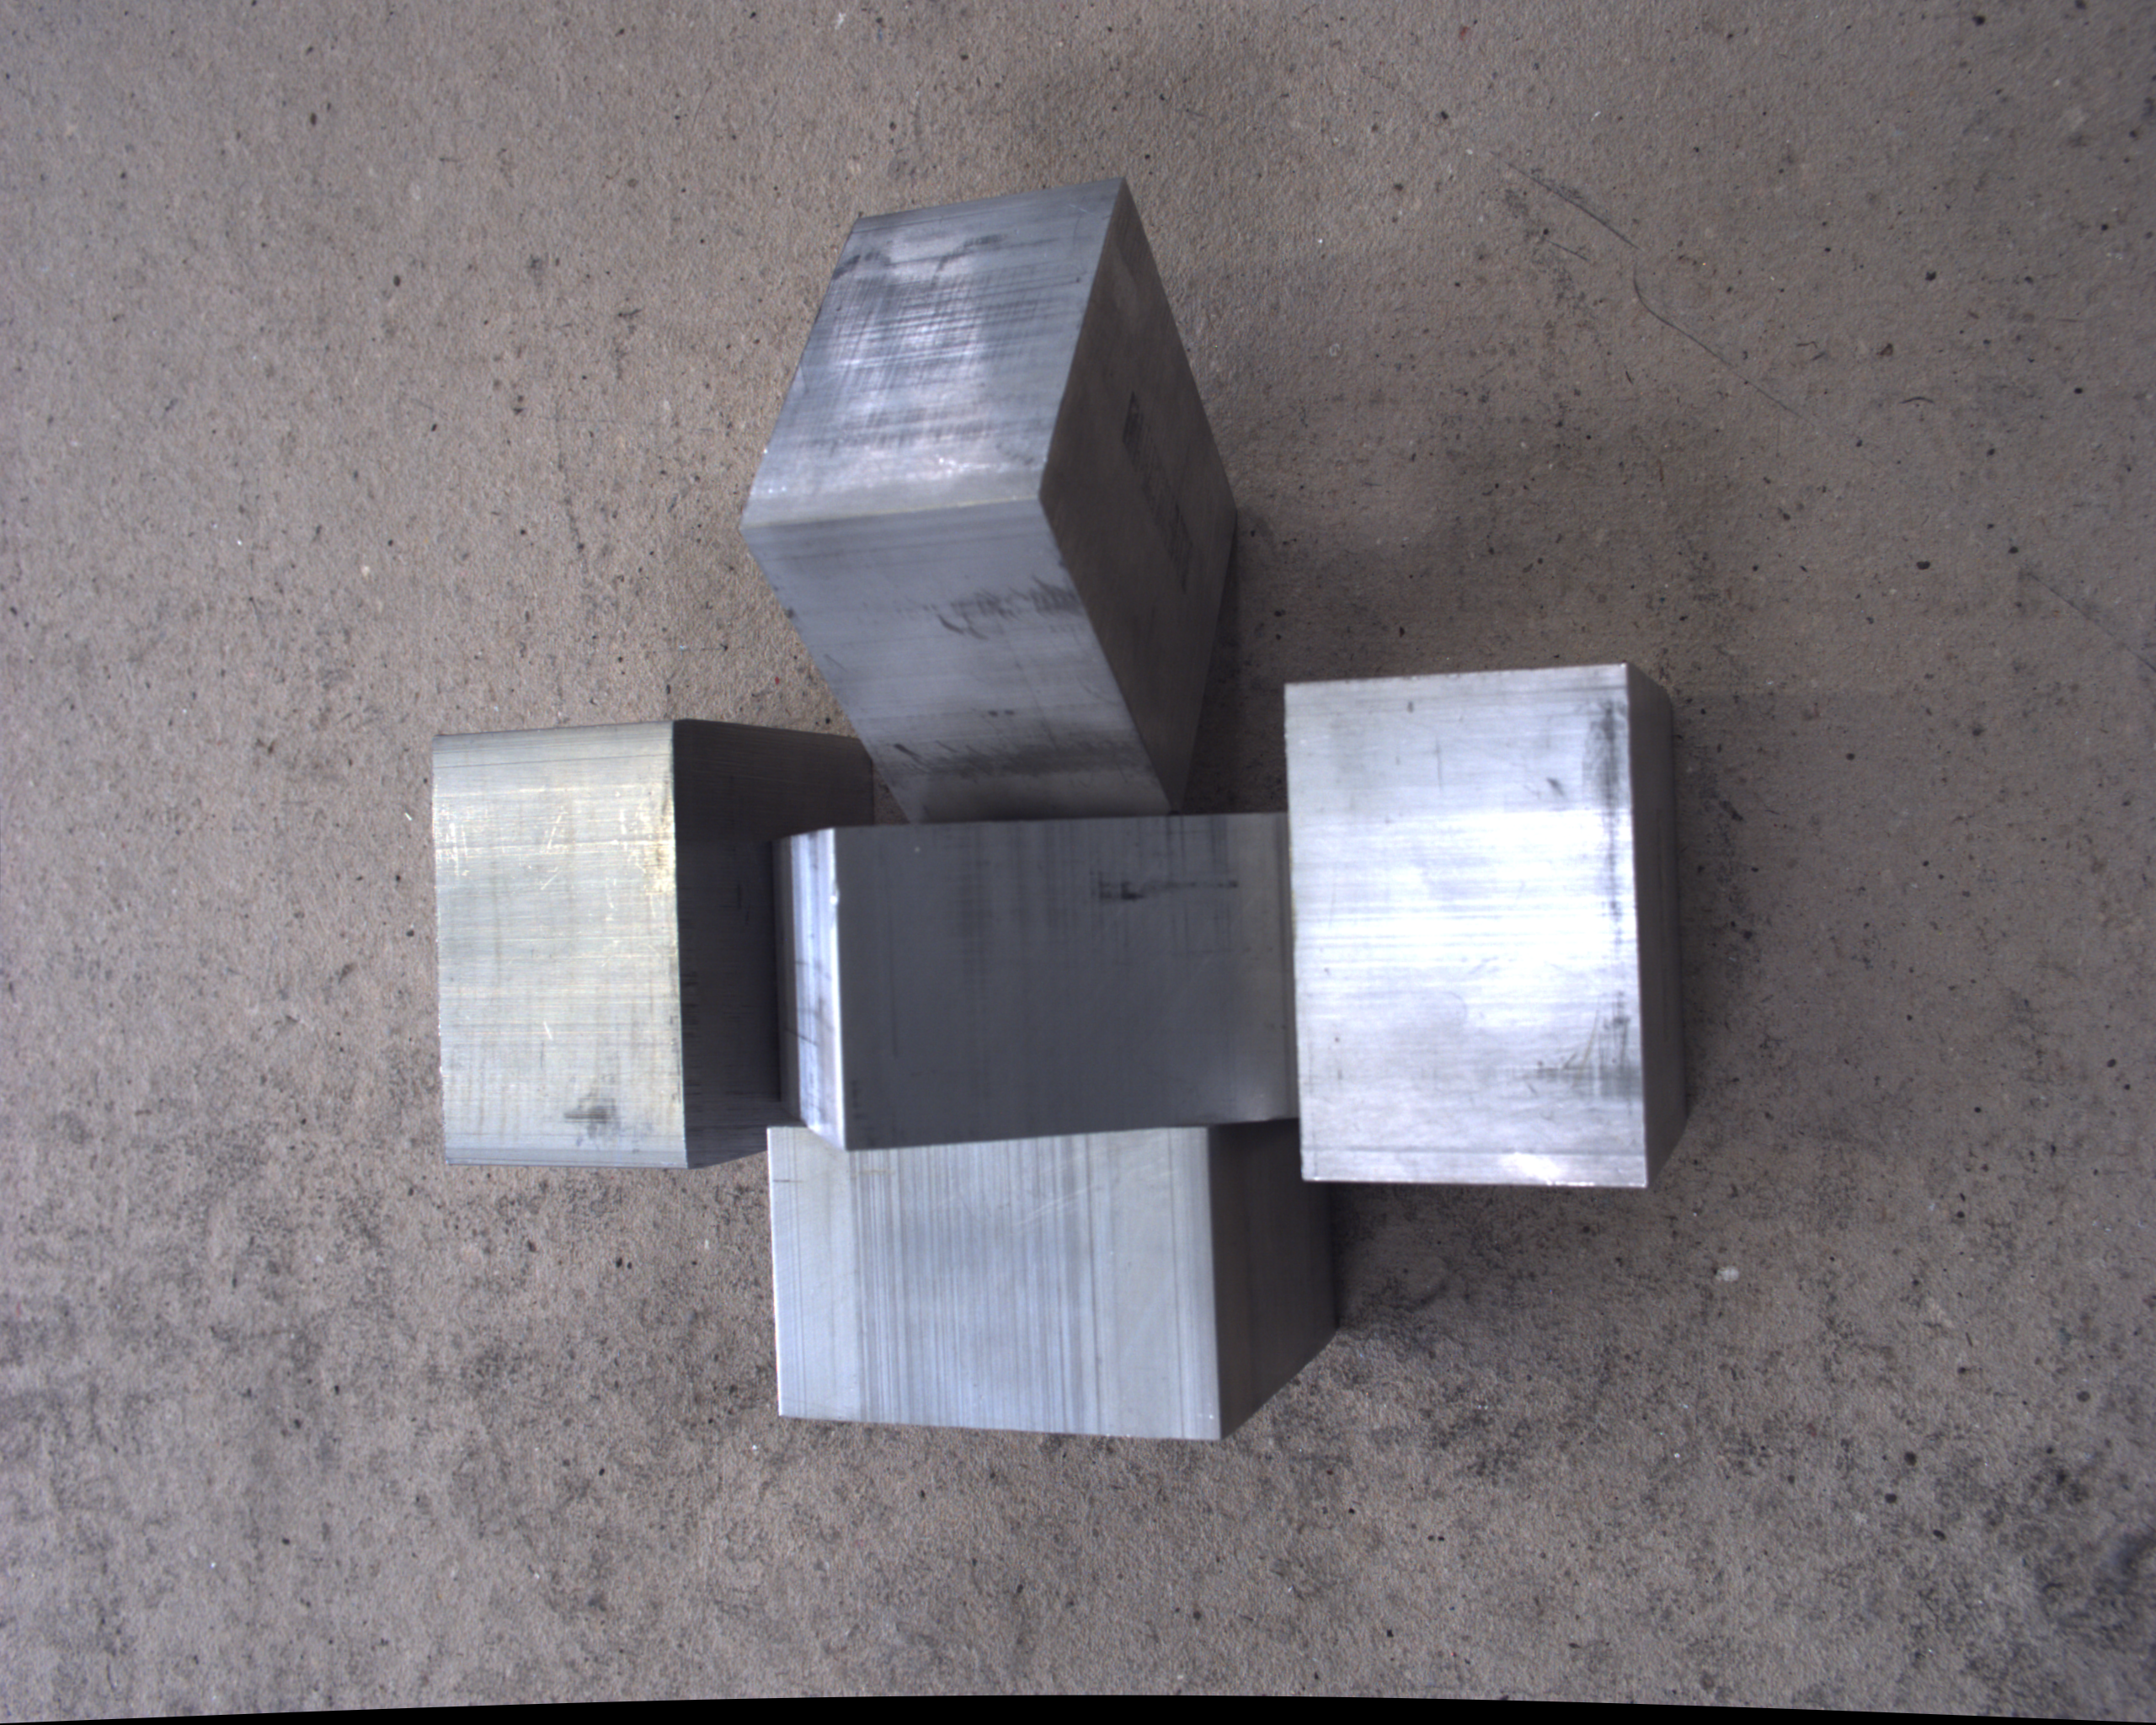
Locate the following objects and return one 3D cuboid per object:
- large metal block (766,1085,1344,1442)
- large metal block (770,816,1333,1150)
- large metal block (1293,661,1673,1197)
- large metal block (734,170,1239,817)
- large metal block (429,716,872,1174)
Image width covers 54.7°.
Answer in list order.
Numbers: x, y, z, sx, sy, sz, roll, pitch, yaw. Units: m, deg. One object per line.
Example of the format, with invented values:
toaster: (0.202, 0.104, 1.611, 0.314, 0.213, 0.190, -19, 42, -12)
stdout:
large metal block: (-0.001, 0.068, 0.382, 0.080, 0.080, 0.050, -3, 89, 20)
large metal block: (-0.008, 0.019, 0.369, 0.081, 0.080, 0.050, -2, 89, -15)
large metal block: (0.072, 0.011, 0.355, 0.050, 0.080, 0.080, -2, 88, 19)
large metal block: (-0.011, -0.061, 0.369, 0.050, 0.080, 0.080, -3, 52, 20)
large metal block: (-0.080, 0.015, 0.408, 0.050, 0.080, 0.080, -2, 89, 19)
